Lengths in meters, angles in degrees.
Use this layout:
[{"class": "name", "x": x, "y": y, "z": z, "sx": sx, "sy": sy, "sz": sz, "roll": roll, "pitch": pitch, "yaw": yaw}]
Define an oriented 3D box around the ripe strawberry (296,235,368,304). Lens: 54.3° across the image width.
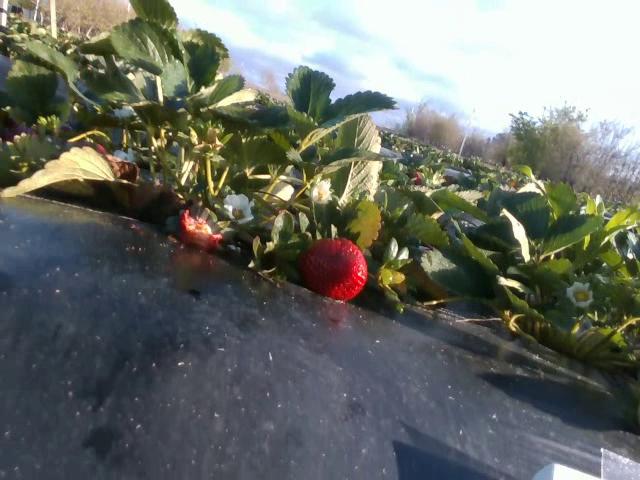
[{"class": "ripe strawberry", "x": 0.013, "y": 0.015, "z": 0.369, "sx": 0.052, "sy": 0.041, "sz": 0.051, "roll": -4, "pitch": -3, "yaw": -18}]
